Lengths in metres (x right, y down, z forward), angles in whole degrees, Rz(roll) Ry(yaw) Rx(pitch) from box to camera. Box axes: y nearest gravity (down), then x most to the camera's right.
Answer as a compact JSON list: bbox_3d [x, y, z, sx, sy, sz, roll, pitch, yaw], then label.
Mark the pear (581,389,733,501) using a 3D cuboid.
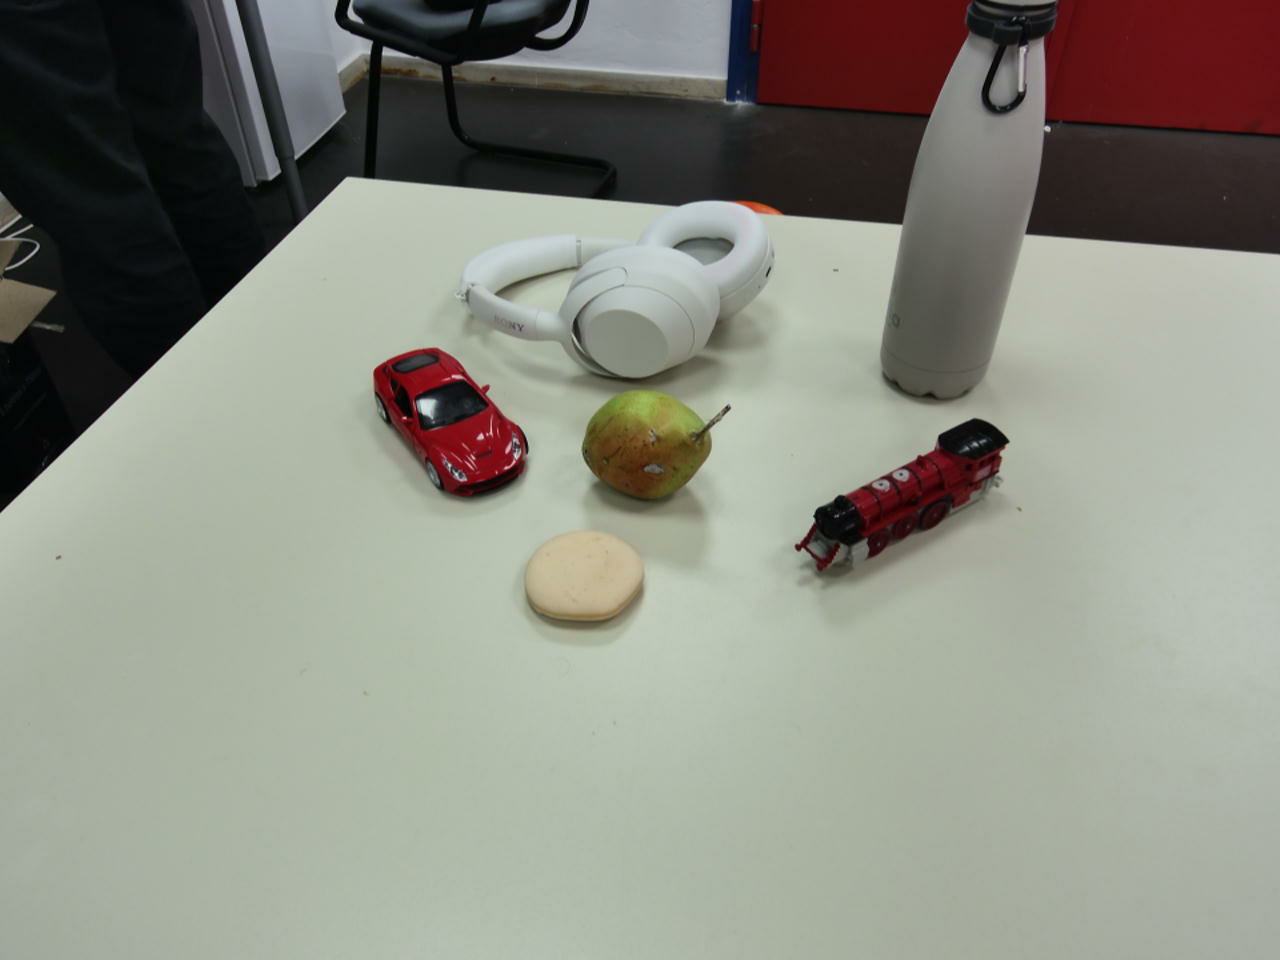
[{"bbox_3d":[0.005,-0.022,0.574,0.068,0.069,0.070,-18,42,-20],"label":"pear"}]
